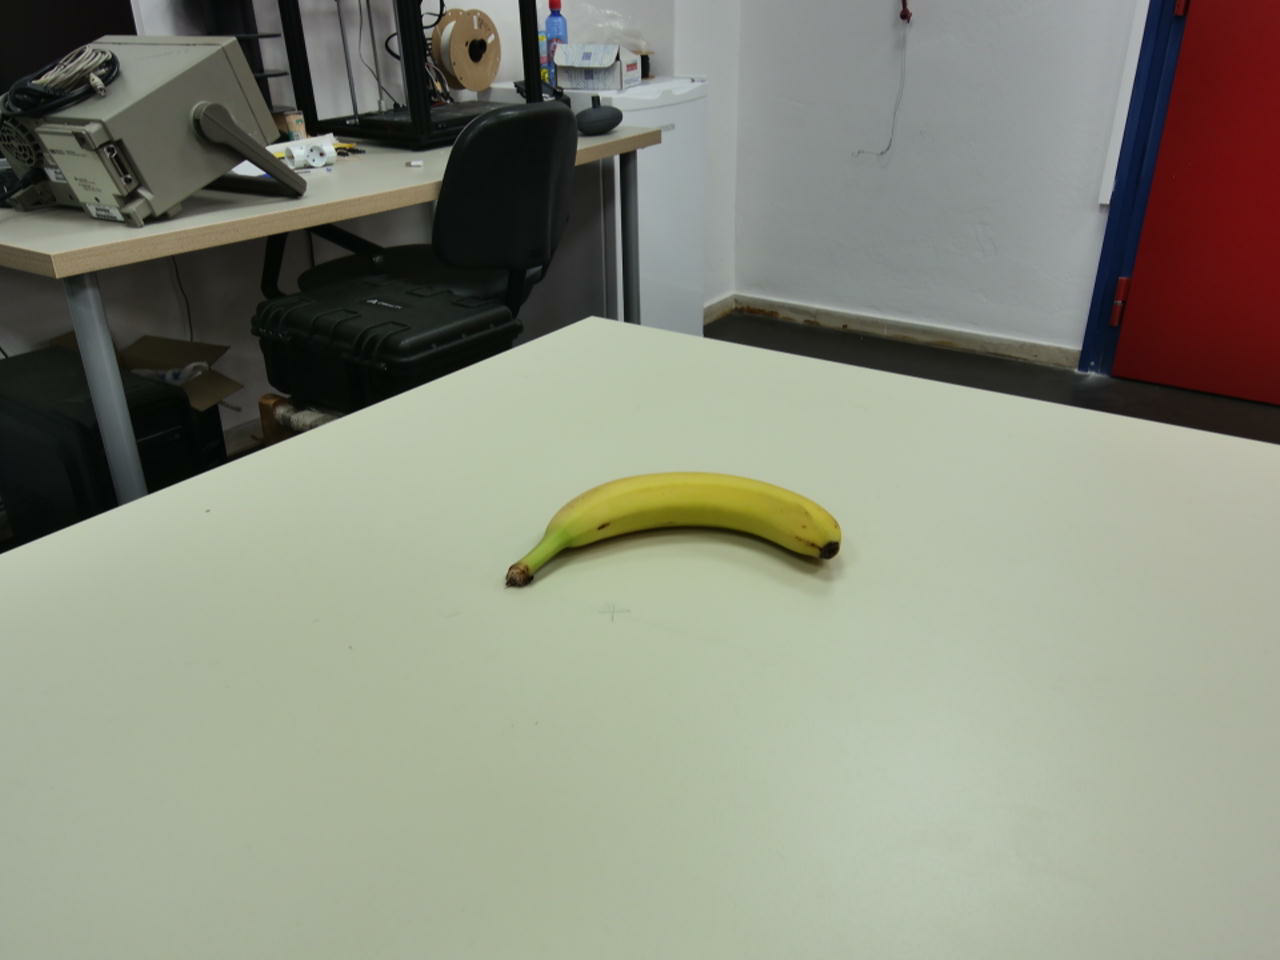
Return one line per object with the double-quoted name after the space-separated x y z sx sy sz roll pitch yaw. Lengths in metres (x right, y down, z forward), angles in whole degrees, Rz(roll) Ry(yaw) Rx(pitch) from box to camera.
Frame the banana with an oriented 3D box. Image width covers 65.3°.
0.019 0.025 0.617 0.196 0.041 0.094 0 25 0 "banana"
